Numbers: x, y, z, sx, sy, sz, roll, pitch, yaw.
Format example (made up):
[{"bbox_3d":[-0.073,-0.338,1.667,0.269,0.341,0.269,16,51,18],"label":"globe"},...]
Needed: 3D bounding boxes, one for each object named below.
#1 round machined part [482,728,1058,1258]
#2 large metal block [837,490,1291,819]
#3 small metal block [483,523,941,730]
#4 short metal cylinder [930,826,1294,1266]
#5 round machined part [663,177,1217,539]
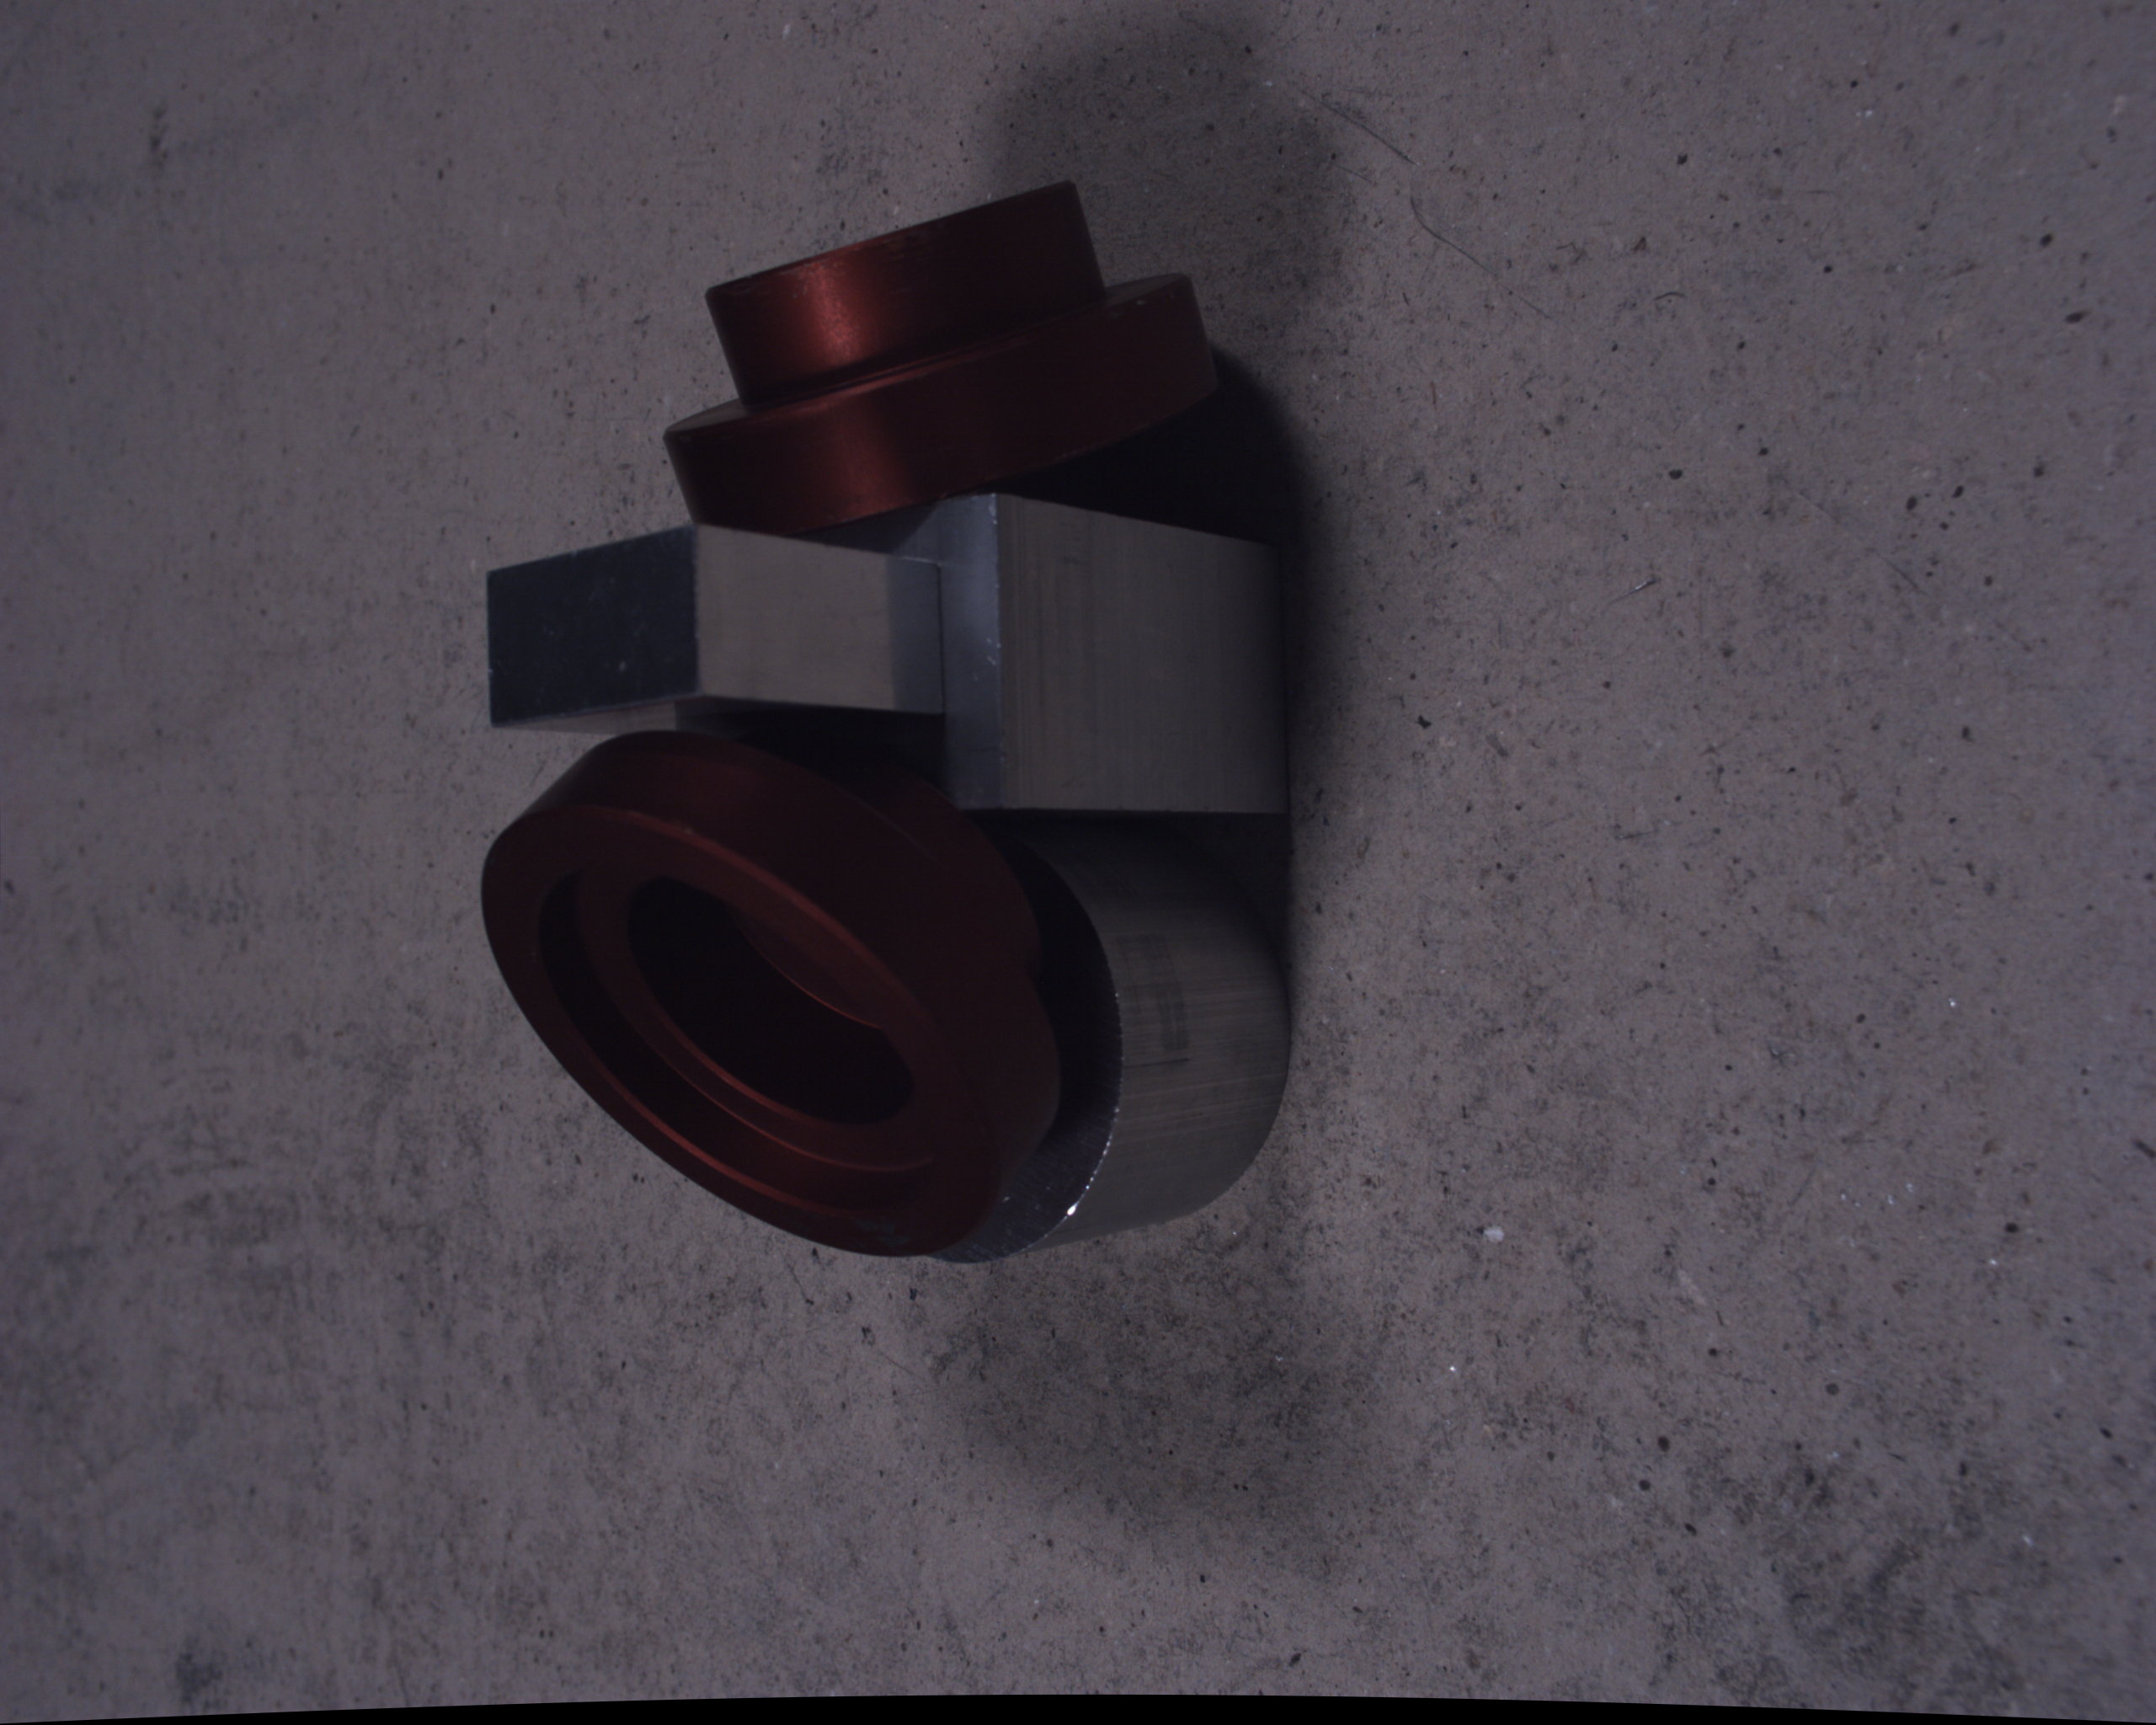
[{"bbox_3d":[-0.046,0.017,0.345,0.098,0.042,0.097,21,139,20],"label":"round machined part"},{"bbox_3d":[-0.018,-0.032,0.382,0.080,0.081,0.050,-2,89,39],"label":"large metal block"},{"bbox_3d":[-0.058,-0.035,0.331,0.050,0.050,0.025,-3,88,40],"label":"small metal block"},{"bbox_3d":[-0.007,0.032,0.395,0.080,0.050,0.079,0,90,39],"label":"short metal cylinder"},{"bbox_3d":[-0.028,-0.092,0.375,0.098,0.099,0.042,-3,113,39],"label":"round machined part"}]
